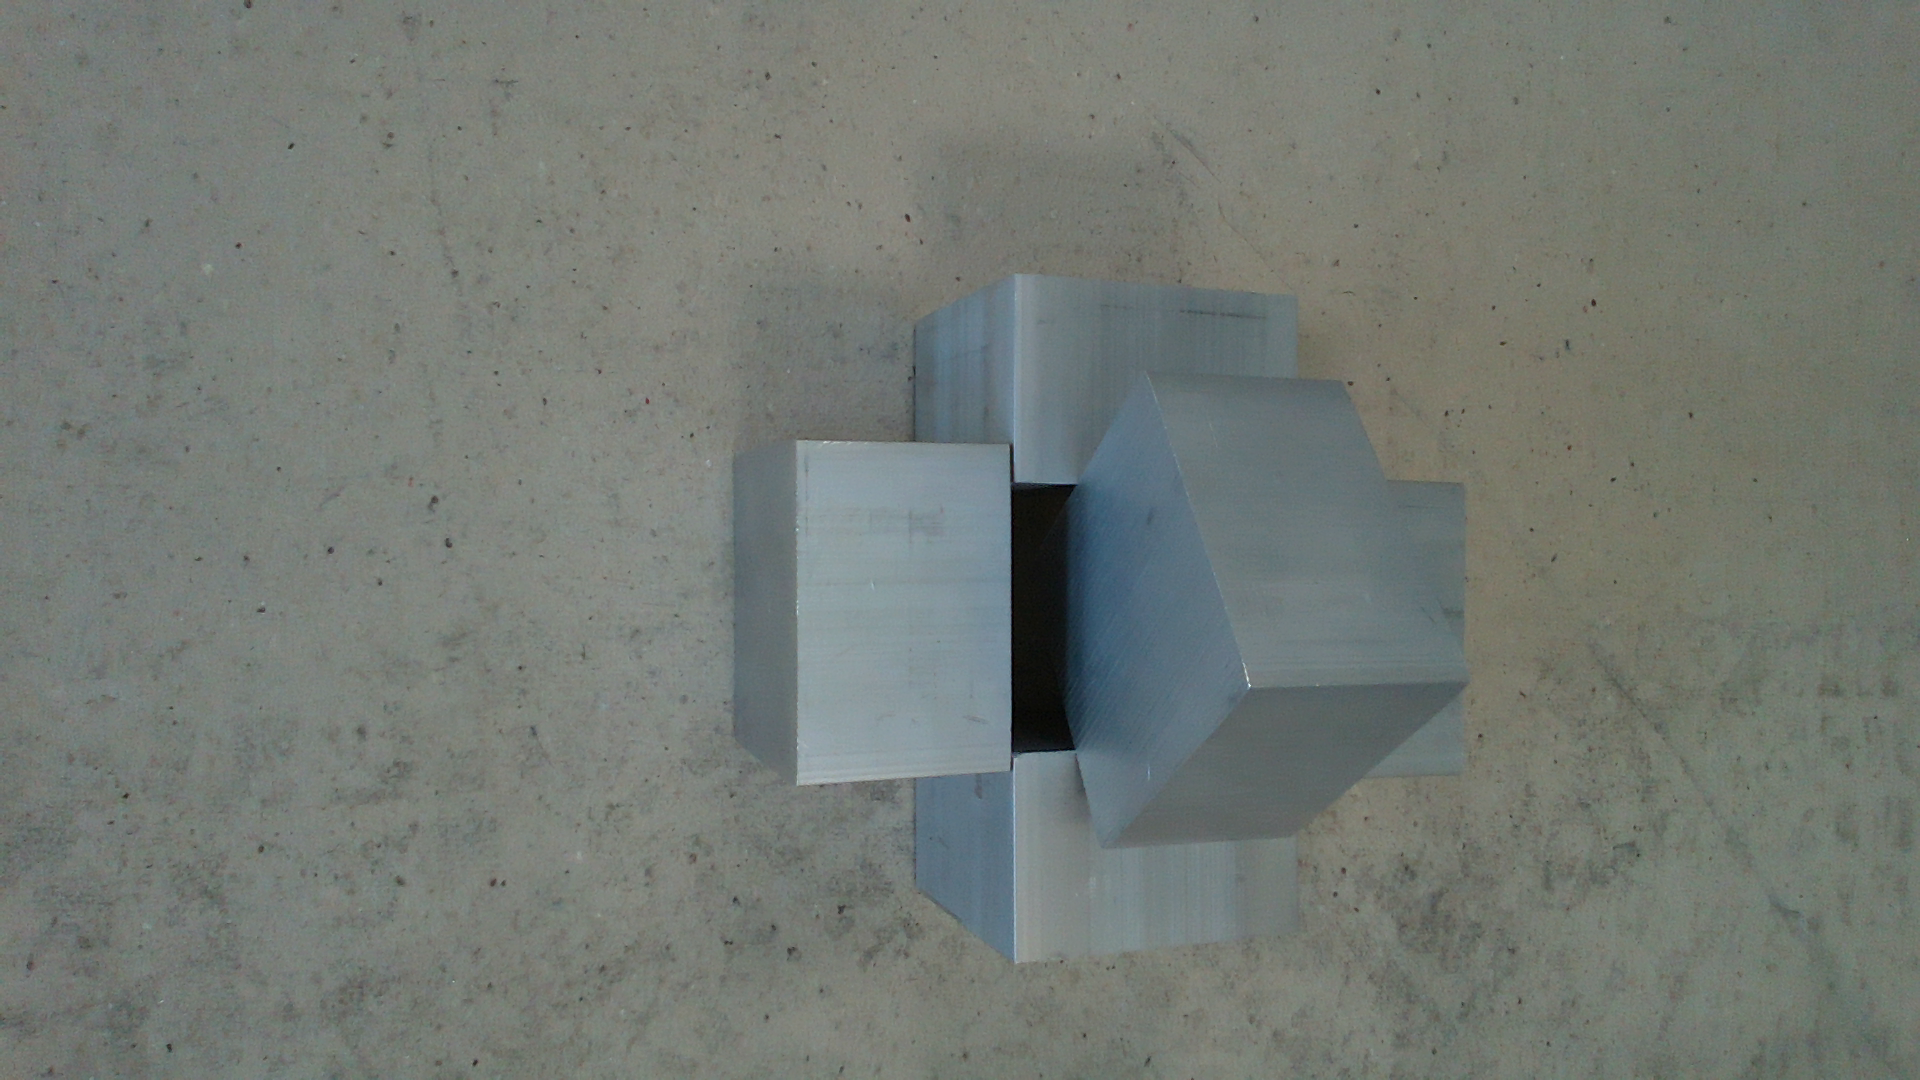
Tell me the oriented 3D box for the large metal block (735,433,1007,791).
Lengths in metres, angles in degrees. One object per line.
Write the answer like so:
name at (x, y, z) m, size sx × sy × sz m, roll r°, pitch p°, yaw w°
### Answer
large metal block at (-0.026, 0.016, 0.354) m, size 0.050 × 0.080 × 0.080 m, roll 0°, pitch 90°, yaw -20°

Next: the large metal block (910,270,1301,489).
large metal block at (0.037, -0.039, 0.378) m, size 0.080 × 0.080 × 0.050 m, roll 1°, pitch 90°, yaw -20°

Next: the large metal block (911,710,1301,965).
large metal block at (0.037, 0.076, 0.378) m, size 0.080 × 0.080 × 0.050 m, roll 0°, pitch 90°, yaw -20°

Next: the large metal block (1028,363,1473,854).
large metal block at (0.060, 0.018, 0.317) m, size 0.050 × 0.080 × 0.080 m, roll 1°, pitch 56°, yaw -20°

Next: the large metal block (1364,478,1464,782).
large metal block at (0.098, 0.024, 0.400) m, size 0.050 × 0.080 × 0.080 m, roll 1°, pitch 90°, yaw -20°
